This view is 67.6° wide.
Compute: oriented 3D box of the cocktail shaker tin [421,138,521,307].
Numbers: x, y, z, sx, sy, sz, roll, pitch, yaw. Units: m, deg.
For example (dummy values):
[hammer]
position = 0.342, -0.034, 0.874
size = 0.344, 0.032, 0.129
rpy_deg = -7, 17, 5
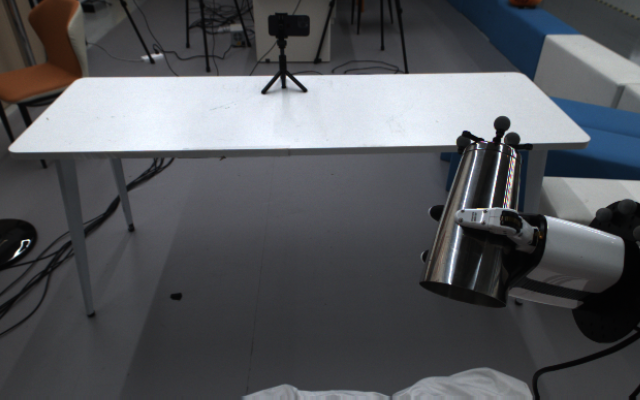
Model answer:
[cocktail shaker tin]
position = 0.177, 0.024, 0.543
size = 0.093, 0.093, 0.170
rpy_deg = 14, 73, 16
